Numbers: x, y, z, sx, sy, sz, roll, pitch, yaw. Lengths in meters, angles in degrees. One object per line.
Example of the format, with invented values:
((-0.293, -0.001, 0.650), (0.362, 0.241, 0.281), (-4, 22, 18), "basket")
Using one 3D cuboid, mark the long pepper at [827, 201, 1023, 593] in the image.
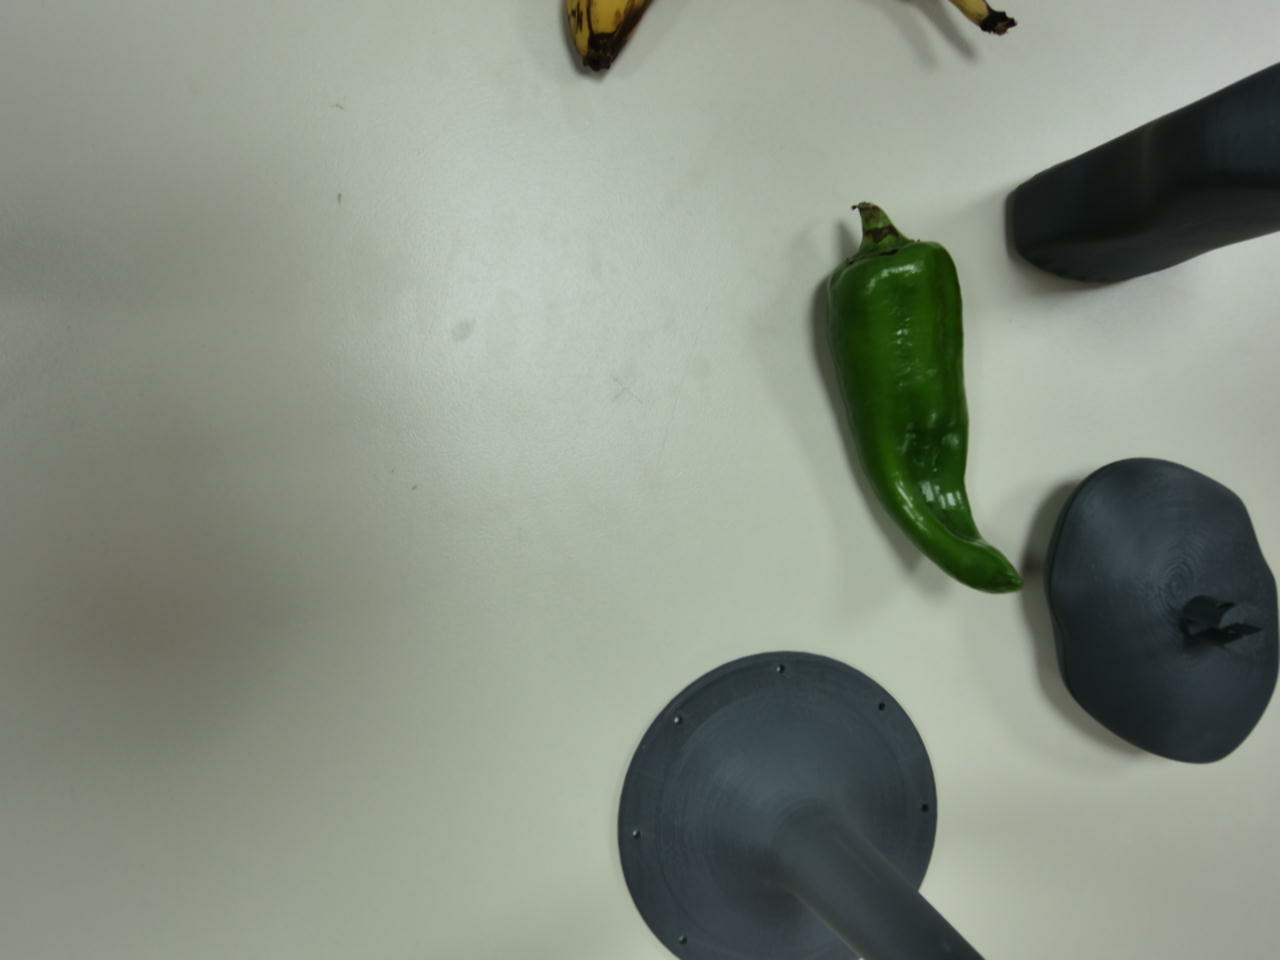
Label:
((0.118, -0.036, 0.427), (0.058, 0.065, 0.175), (-13, 93, -11), "long pepper")
